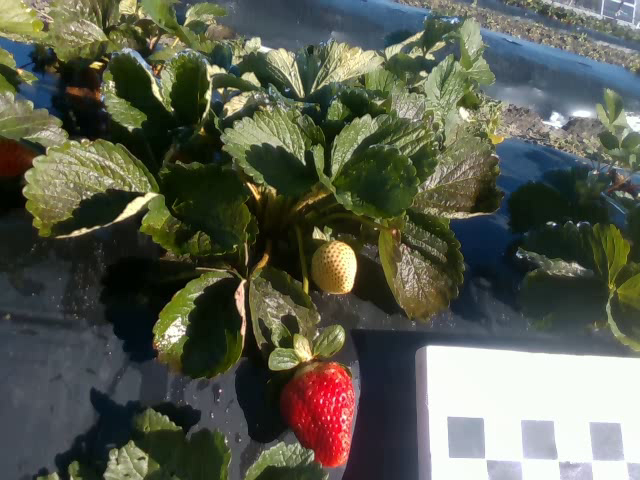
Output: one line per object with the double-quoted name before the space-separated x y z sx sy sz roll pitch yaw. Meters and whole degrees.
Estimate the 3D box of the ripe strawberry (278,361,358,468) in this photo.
"ripe strawberry" 0.002 0.102 0.365 0.048 0.069 0.040 -13 -20 -16
